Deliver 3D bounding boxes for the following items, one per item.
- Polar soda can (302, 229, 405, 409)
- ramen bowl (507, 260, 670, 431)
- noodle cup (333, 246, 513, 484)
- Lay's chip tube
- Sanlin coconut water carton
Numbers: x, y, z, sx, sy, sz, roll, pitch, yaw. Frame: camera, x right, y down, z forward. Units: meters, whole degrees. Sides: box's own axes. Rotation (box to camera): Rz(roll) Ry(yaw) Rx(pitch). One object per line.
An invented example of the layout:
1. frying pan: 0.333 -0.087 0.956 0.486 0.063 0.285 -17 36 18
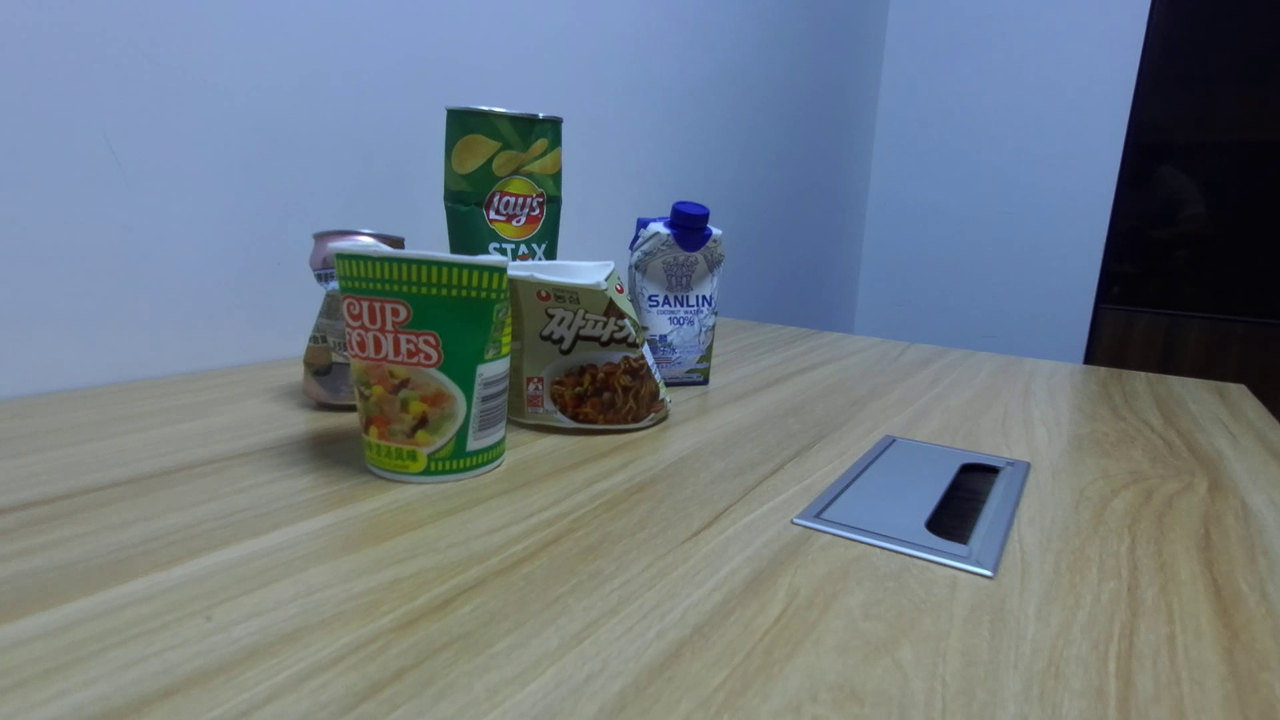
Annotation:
1. Polar soda can: -0.184 -0.029 0.462 0.070 0.114 0.074 -3 18 -45
2. ramen bowl: -0.043 -0.013 0.459 0.137 0.098 0.137 2 10 0
3. noodle cup: -0.105 -0.002 0.350 0.075 0.122 0.082 -10 25 -20
4. Lay's chip tube: -0.105 -0.089 0.550 0.069 0.199 0.075 5 12 13
5. Sanlin coconut water carton: 0.026 -0.051 0.548 0.078 0.142 0.057 -2 18 -24
